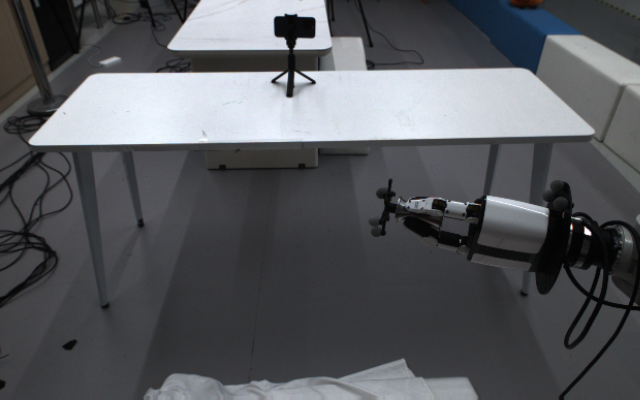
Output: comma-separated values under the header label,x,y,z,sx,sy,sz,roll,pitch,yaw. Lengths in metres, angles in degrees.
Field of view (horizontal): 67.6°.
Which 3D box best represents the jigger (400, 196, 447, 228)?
label,x,y,z,sx,sy,sz,roll,pitch,yaw
jigger,0.156,0.015,0.725,0.071,0.043,0.043,10,35,15
